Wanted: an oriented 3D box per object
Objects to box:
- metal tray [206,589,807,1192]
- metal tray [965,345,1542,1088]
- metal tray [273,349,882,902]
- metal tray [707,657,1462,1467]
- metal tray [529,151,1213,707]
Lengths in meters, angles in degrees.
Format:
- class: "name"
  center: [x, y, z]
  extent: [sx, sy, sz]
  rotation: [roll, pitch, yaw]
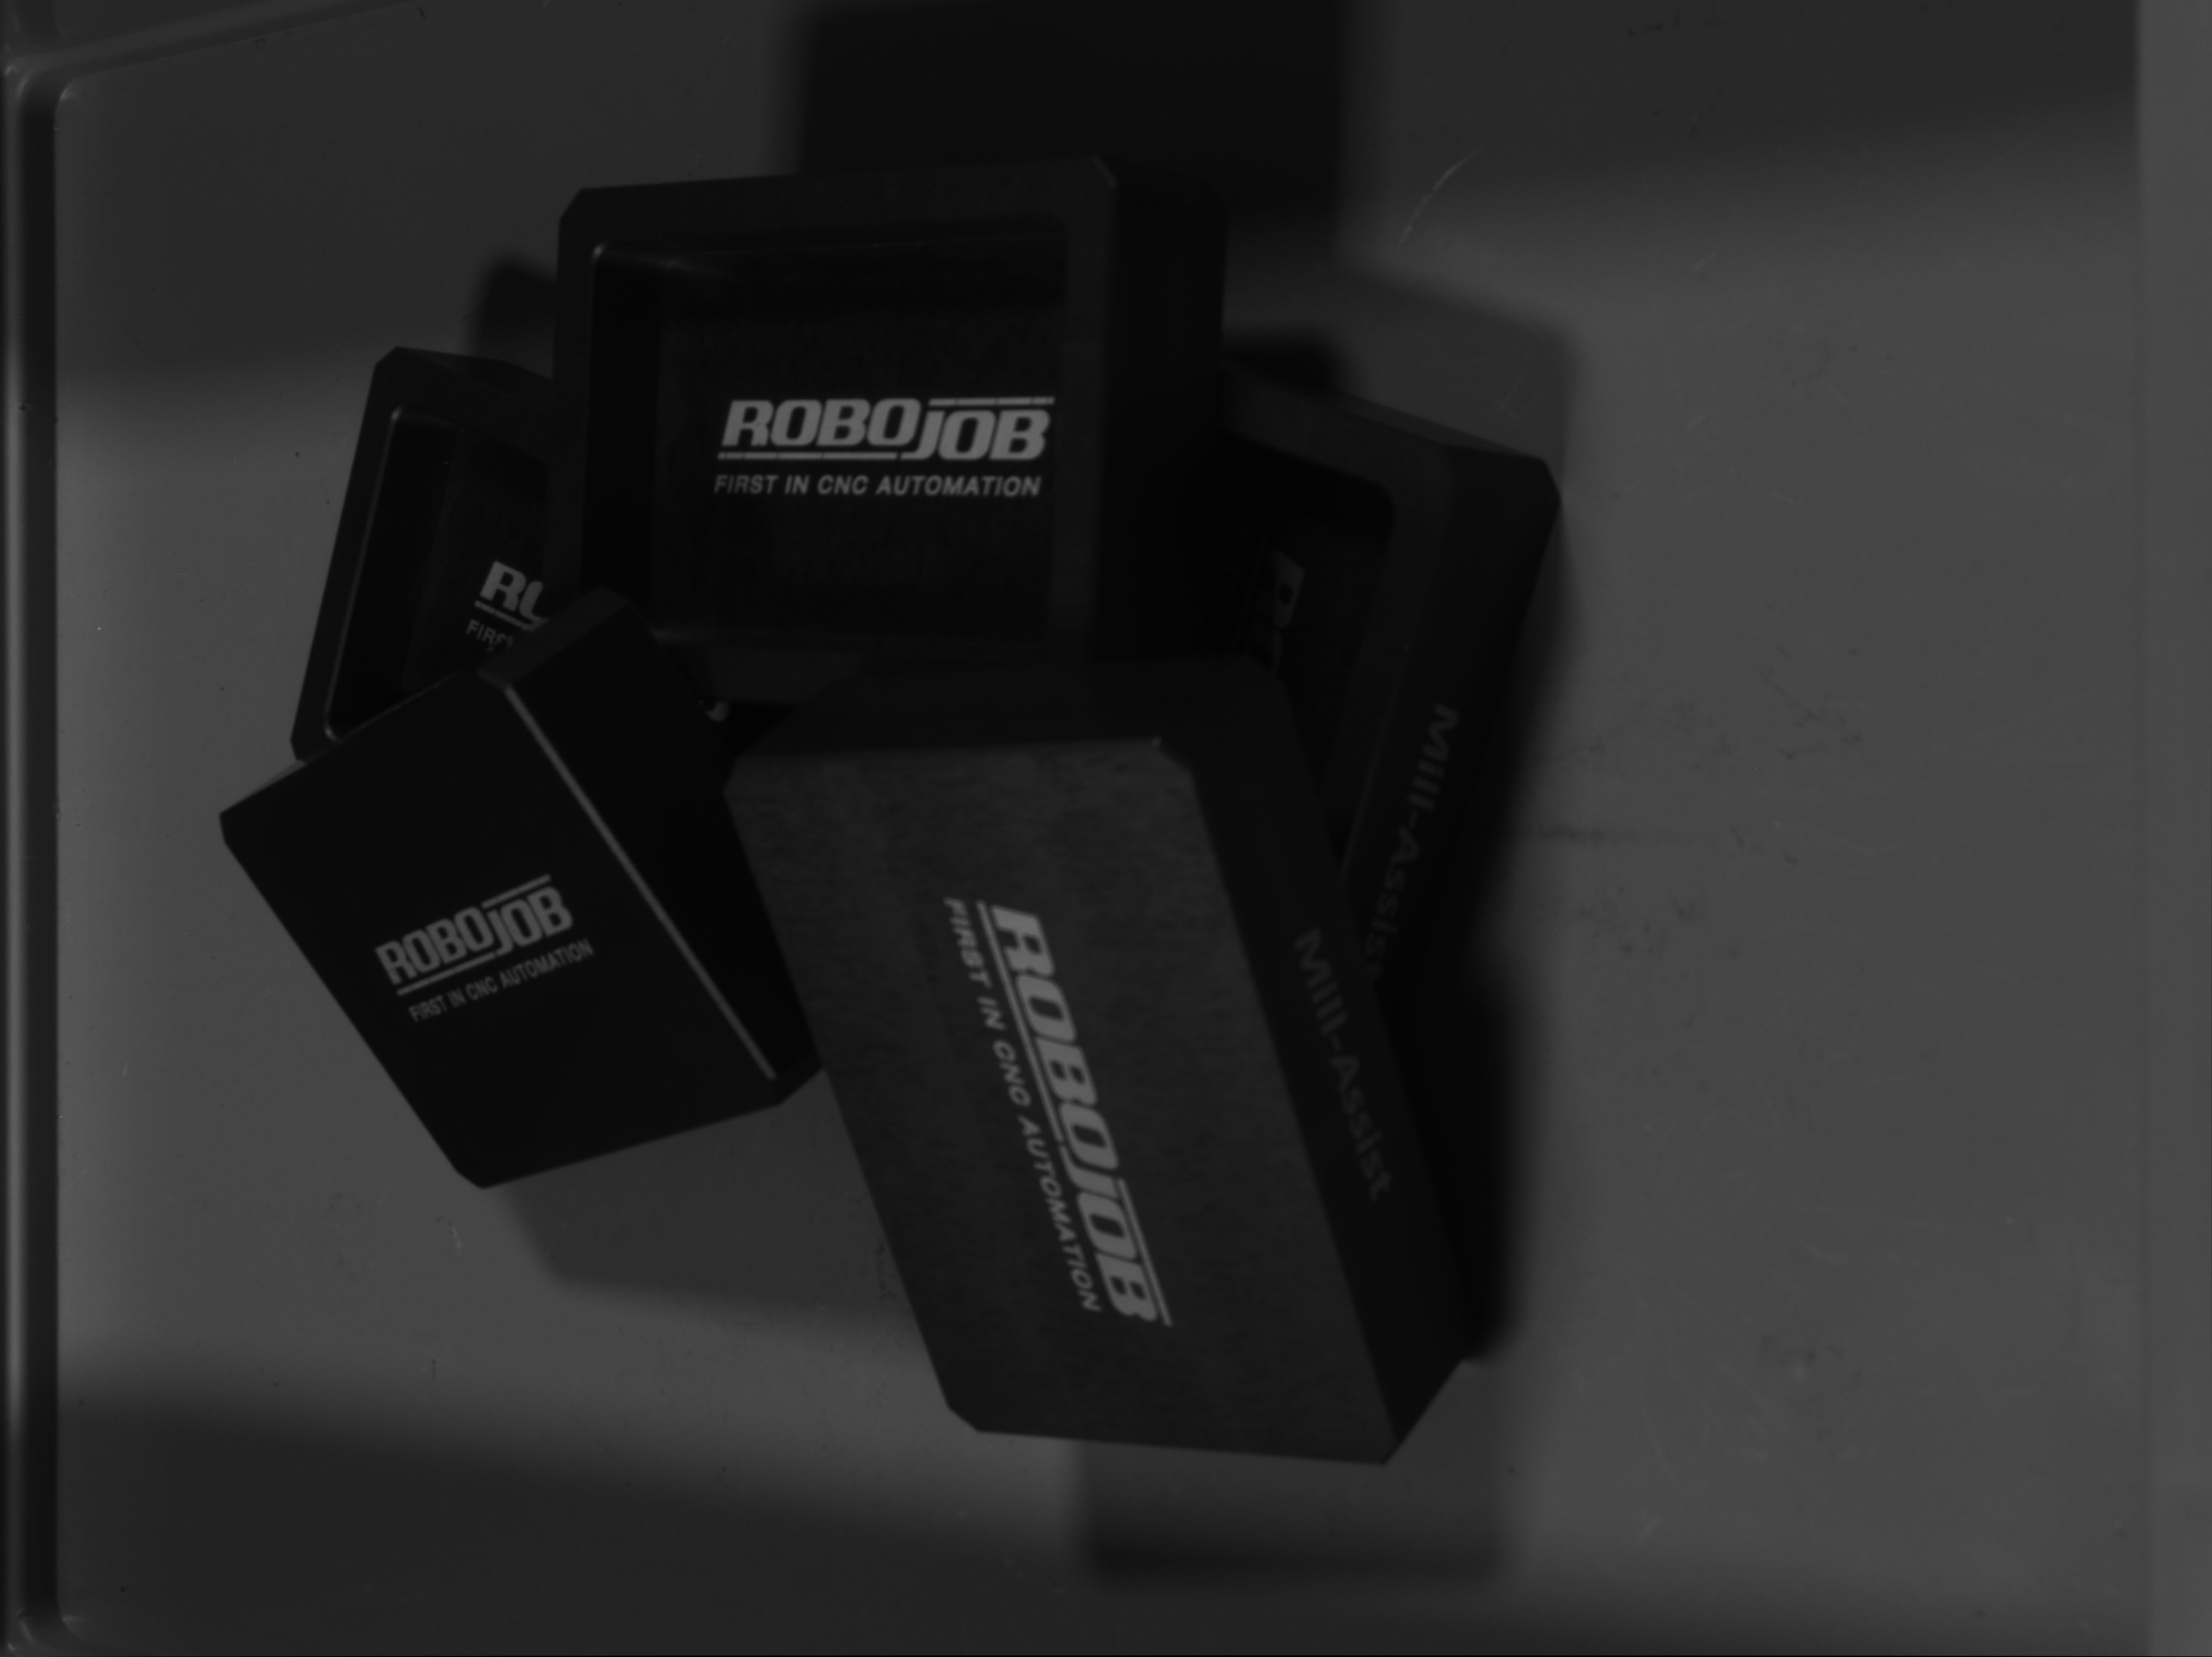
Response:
- class: "metal tray"
  center: [-0.107, 0.015, 0.675]
  extent: [0.130, 0.030, 0.090]
  rotation: [-19, 107, 54]
- class: "metal tray"
  center: [0.014, -0.011, 0.620]
  extent: [0.090, 0.030, 0.130]
  rotation: [24, 105, 37]
- class: "metal tray"
  center: [-0.104, -0.033, 0.715]
  extent: [0.130, 0.030, 0.090]
  rotation: [25, 105, 37]
- class: "metal tray"
  center: [-0.003, 0.039, 0.592]
  extent: [0.090, 0.030, 0.130]
  rotation: [-2, 117, 34]
- class: "metal tray"
  center: [-0.043, -0.065, 0.628]
  extent: [0.130, 0.030, 0.090]
  rotation: [4, 93, 39]
